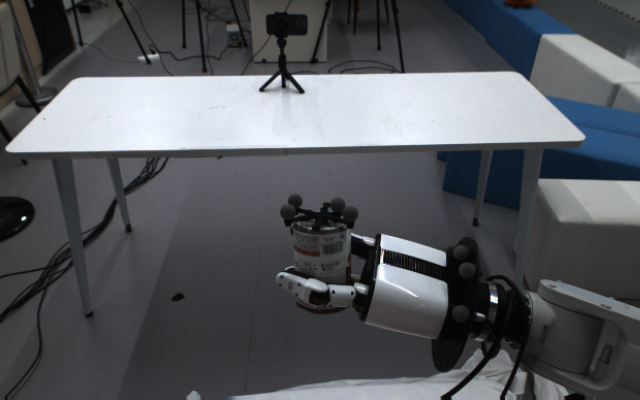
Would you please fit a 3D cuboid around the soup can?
[{"bbox_3d":[0.005,0.072,0.561,0.067,0.101,0.067,-1,17,0],"label":"soup can"}]
